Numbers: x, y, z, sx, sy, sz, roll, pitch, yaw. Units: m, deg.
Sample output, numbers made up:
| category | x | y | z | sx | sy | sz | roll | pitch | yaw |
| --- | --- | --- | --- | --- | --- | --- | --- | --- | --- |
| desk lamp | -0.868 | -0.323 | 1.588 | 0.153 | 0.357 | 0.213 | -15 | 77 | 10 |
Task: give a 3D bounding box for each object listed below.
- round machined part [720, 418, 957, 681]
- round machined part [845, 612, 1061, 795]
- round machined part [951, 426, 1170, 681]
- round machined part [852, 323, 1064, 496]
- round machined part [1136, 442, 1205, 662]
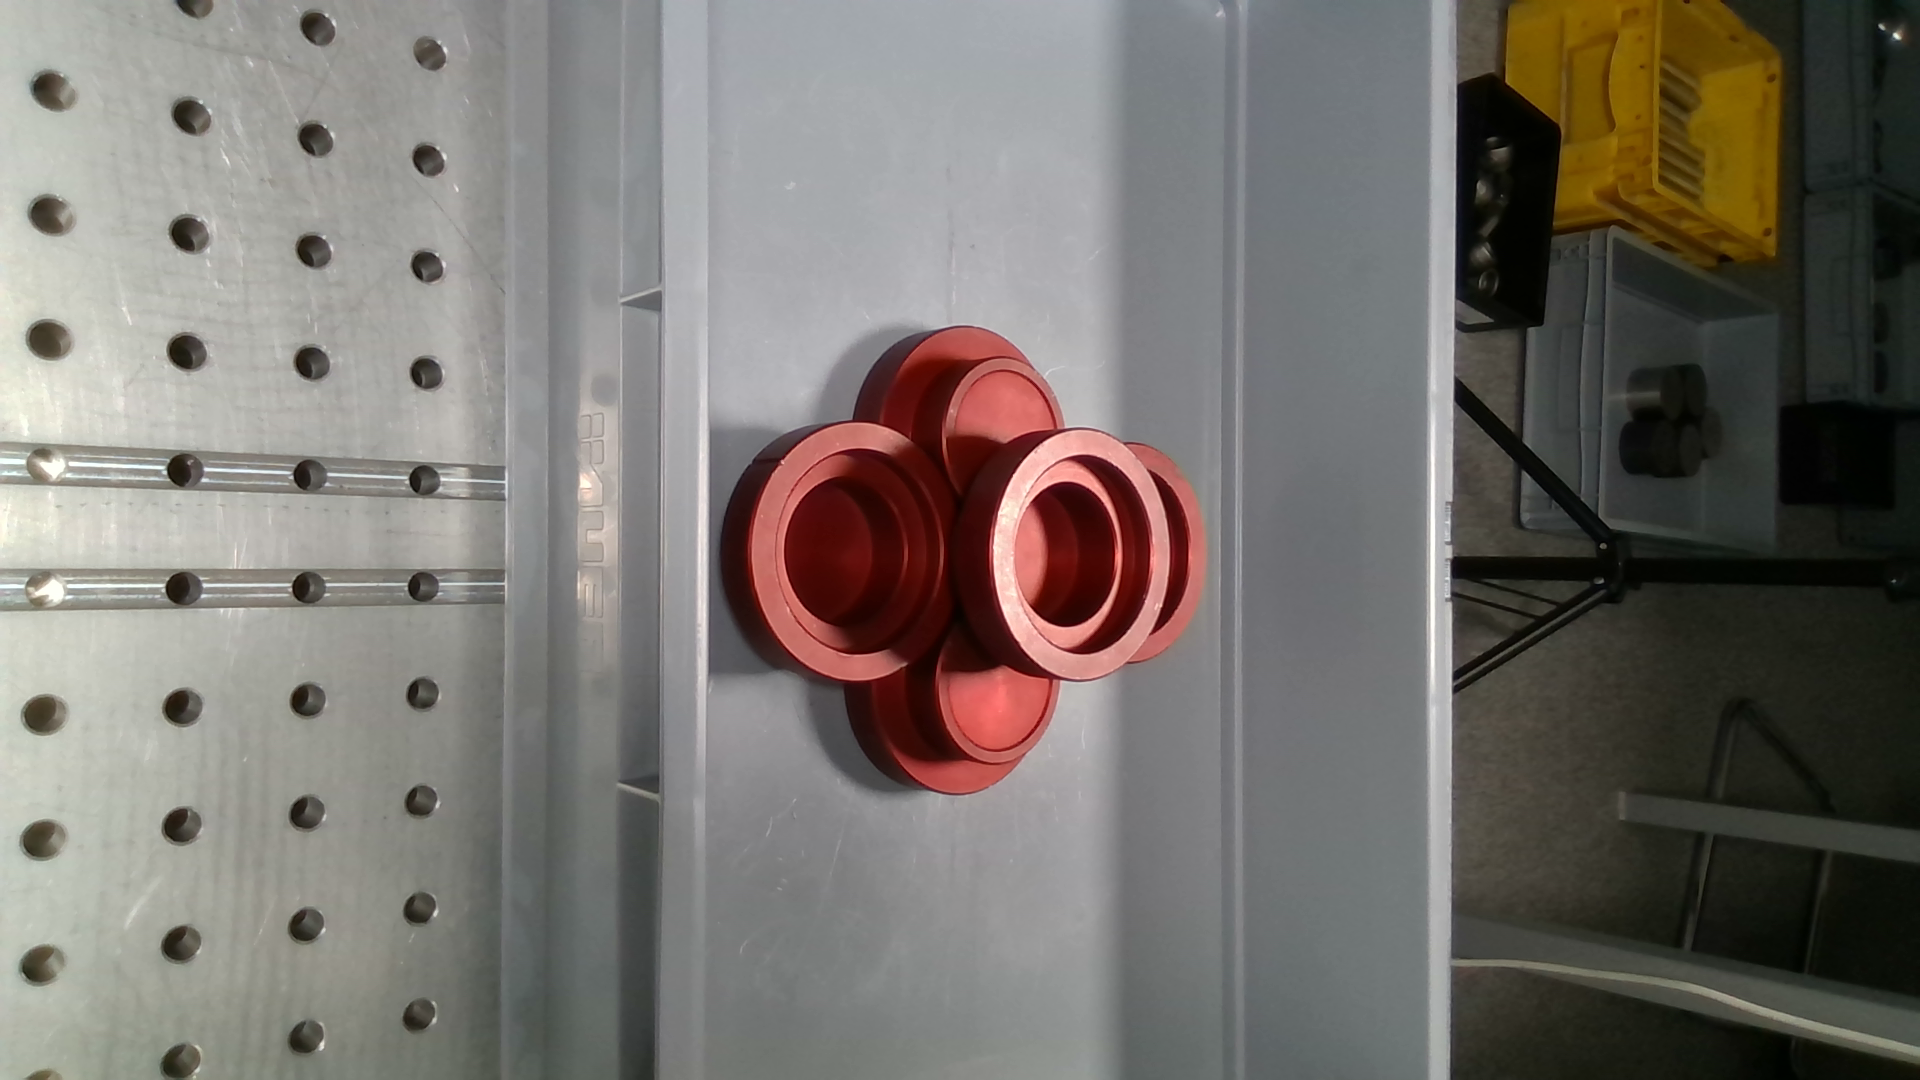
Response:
| category | x | y | z | sx | sy | sz | roll | pitch | yaw |
| --- | --- | --- | --- | --- | --- | --- | --- | --- | --- |
| round machined part | -0.050 | 0.004 | 0.528 | 0.098 | 0.042 | 0.098 | 0 | 90 | -40 |
| round machined part | 0.004 | 0.057 | 0.573 | 0.098 | 0.042 | 0.098 | 0 | 90 | -40 |
| round machined part | 0.035 | 0.005 | 0.545 | 0.098 | 0.042 | 0.098 | 0 | 90 | -40 |
| round machined part | 0.006 | -0.041 | 0.575 | 0.098 | 0.042 | 0.098 | 0 | 90 | -40 |
| round machined part | 0.063 | 0.005 | 0.623 | 0.098 | 0.042 | 0.098 | 0 | 90 | -40 |
